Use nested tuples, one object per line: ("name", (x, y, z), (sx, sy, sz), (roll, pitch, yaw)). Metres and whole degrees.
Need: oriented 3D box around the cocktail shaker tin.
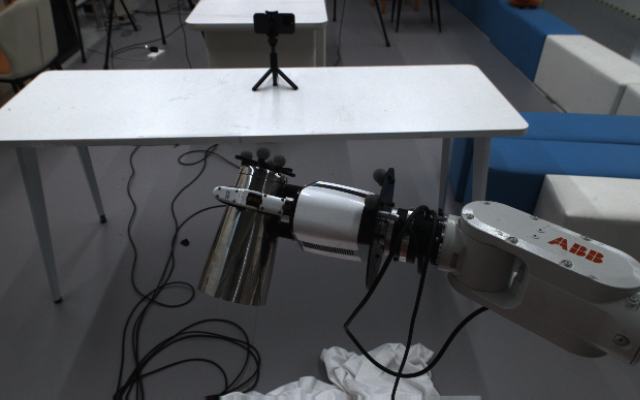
("cocktail shaker tin", (-0.094, 0.043, 0.646), (0.093, 0.170, 0.093), (14, -5, 1))
